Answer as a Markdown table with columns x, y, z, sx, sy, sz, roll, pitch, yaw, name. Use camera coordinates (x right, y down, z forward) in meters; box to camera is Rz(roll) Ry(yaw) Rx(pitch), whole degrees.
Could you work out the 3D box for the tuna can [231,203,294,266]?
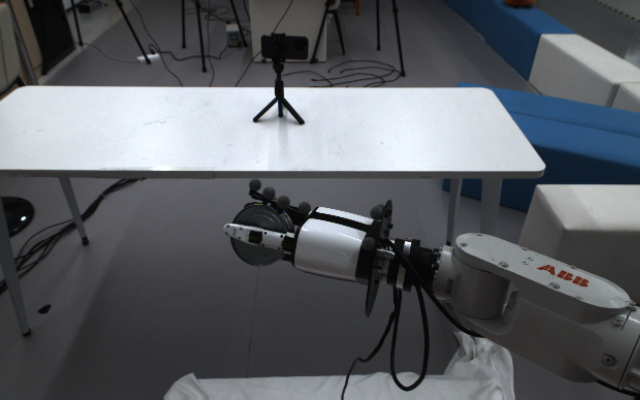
| x | y | z | sx | sy | sz | roll | pitch | yaw | name |
| --- | --- | --- | --- | --- | --- | --- | --- | --- | --- |
| -0.077 | 0.047 | 0.675 | 0.085 | 0.085 | 0.034 | 13 | 3 | 15 | tuna can |
